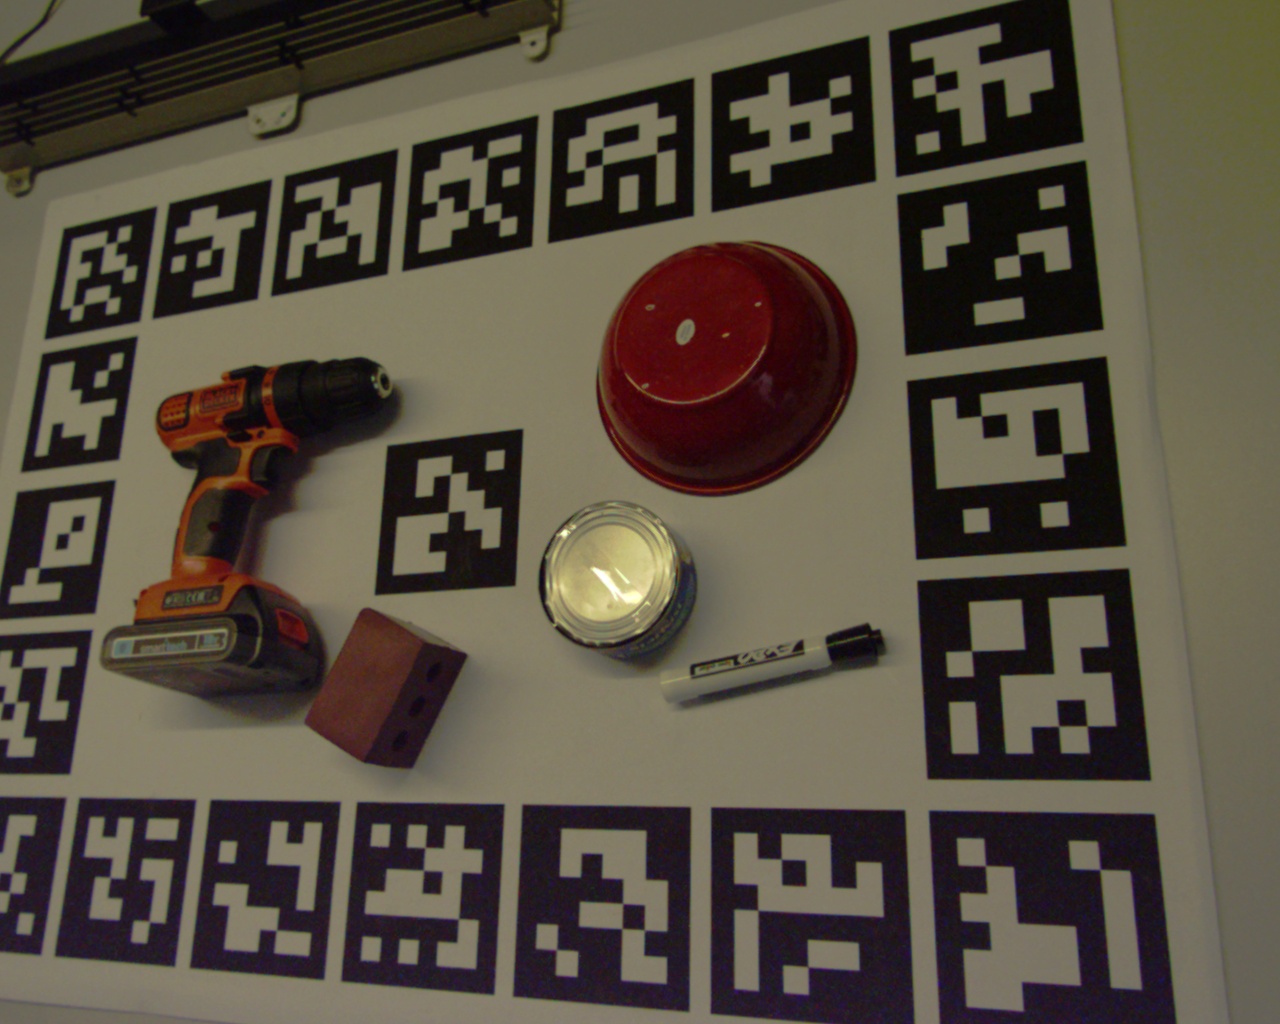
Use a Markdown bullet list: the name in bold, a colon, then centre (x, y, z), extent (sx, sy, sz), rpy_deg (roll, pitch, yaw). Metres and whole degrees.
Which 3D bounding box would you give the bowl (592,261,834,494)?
- **bowl**: centre (0.032, -0.095, 0.694), extent (0.163, 0.054, 0.162), rpy_deg (-11, 64, 22)

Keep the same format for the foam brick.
- **foam brick**: centre (-0.152, 0.106, 0.713), extent (0.052, 0.052, 0.078), rpy_deg (20, 85, 25)

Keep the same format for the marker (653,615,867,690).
- **marker**: centre (0.067, 0.079, 0.637), extent (0.122, 0.019, 0.020), rpy_deg (-15, 72, 18)

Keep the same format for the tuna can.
- **tuna can**: centre (-0.015, 0.034, 0.678), extent (0.086, 0.033, 0.086), rpy_deg (-6, 73, 19)

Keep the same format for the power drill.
- **power drill**: centre (-0.260, 0.007, 0.782), extent (0.186, 0.057, 0.187), rpy_deg (-6, 71, 18)
